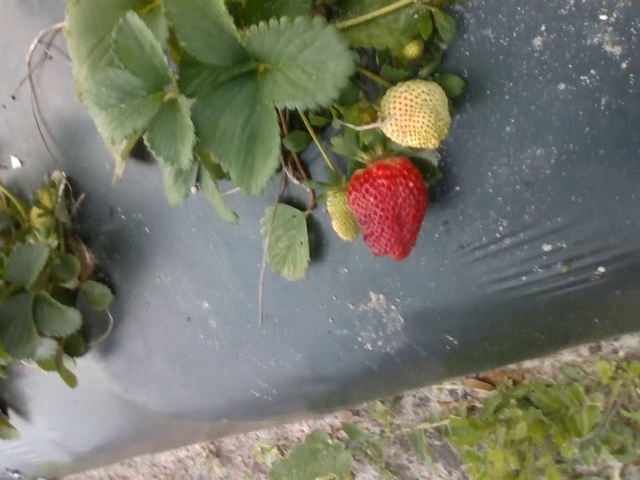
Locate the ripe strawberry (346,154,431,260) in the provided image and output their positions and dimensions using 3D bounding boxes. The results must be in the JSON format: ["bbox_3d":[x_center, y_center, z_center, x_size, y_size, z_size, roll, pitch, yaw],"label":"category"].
[{"bbox_3d":[0.038,-0.014,0.303,0.045,0.059,0.046,1,-16,-39],"label":"ripe strawberry"}]
